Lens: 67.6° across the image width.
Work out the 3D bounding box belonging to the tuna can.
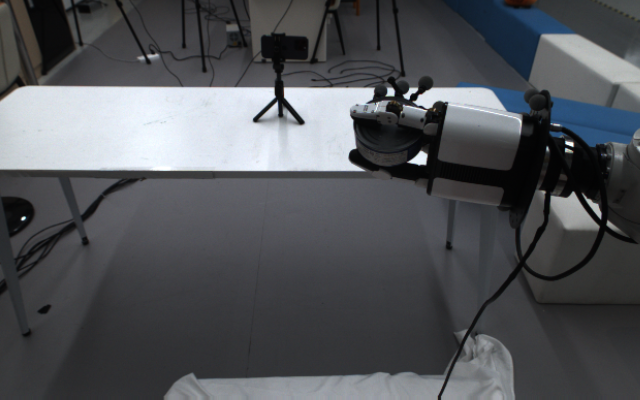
[{"bbox_3d":[0.085,-0.086,0.590,0.085,0.034,0.085,-4,56,6],"label":"tuna can"}]
